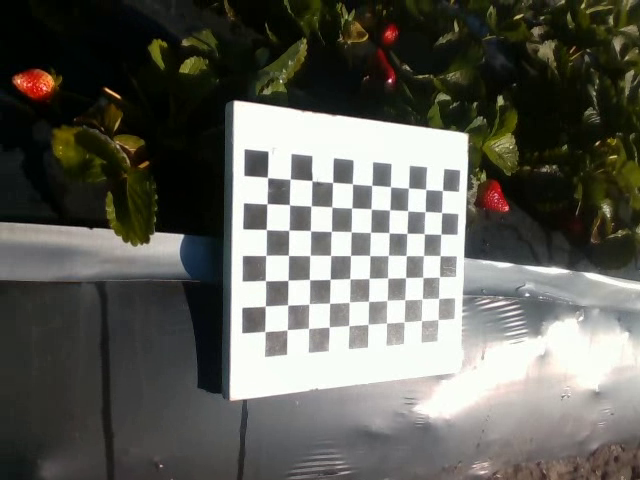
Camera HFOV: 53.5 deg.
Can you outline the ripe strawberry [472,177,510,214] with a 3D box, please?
[{"bbox_3d":[0.227,-0.054,0.814,0.048,0.054,0.029,-48,23,-19],"label":"ripe strawberry"}]
